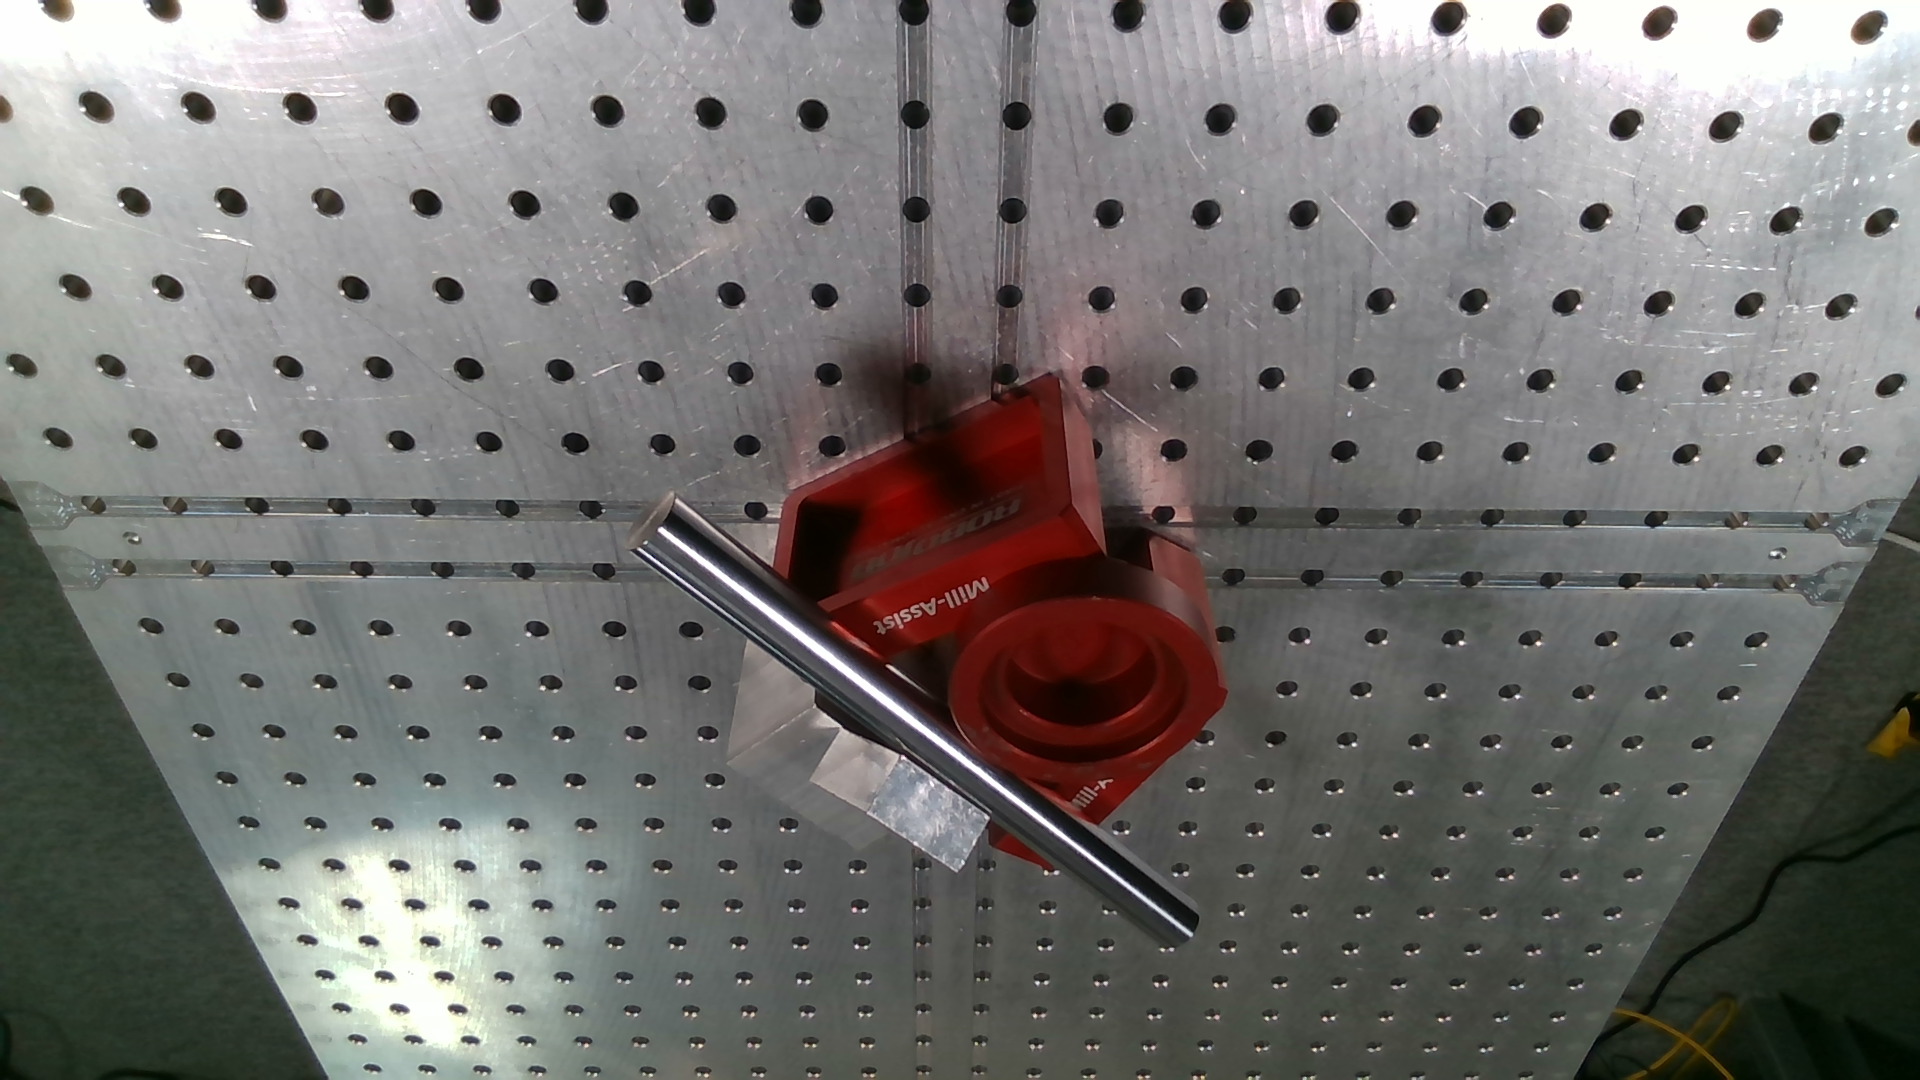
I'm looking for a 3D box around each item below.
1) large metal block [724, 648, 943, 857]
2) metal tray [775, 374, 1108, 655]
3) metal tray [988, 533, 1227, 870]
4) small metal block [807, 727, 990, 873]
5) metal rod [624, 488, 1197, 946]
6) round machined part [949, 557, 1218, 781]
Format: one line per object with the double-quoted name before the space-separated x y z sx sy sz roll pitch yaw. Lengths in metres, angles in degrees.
"large metal block" -0.052 0.079 0.609 0.050 0.080 0.080 -34 122 25
"metal tray" -0.010 -0.005 0.535 0.130 0.090 0.030 -23 126 18
"metal tray" 0.059 0.071 0.598 0.030 0.090 0.130 26 125 -19
"small metal block" -0.025 0.102 0.546 0.050 0.050 0.025 40 75 -28
"metal rod" -0.005 0.080 0.531 0.025 0.025 0.301 -34 122 25
"round machined part" 0.045 0.043 0.518 0.098 0.042 0.098 0 130 0
